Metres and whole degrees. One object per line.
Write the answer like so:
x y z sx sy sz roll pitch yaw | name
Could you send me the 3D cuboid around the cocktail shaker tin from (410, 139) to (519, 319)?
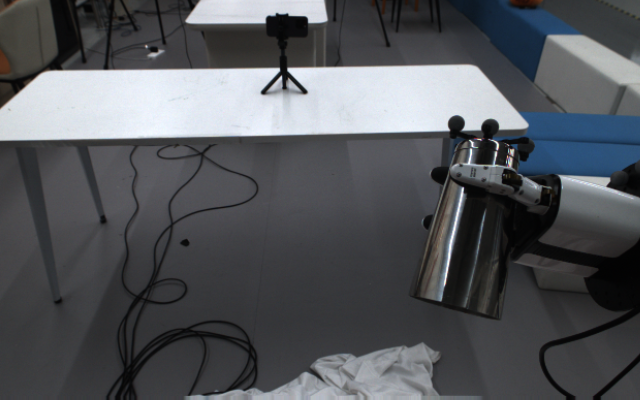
0.160 0.025 0.502 0.093 0.093 0.170 13 79 15 | cocktail shaker tin
